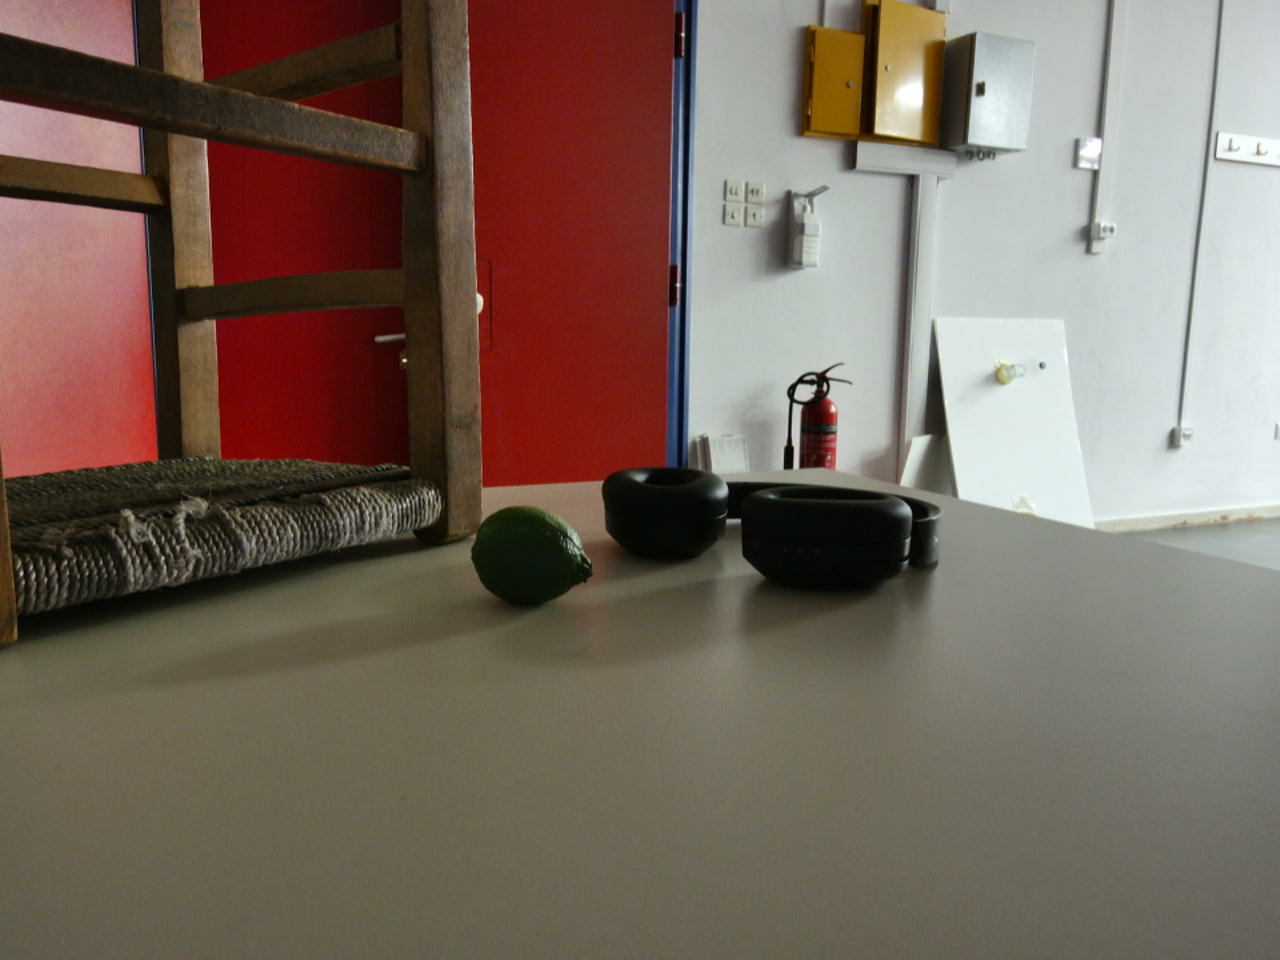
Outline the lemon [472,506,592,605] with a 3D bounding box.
[{"bbox_3d":[-0.059,0.039,0.525,0.057,0.051,0.054,-3,7,-28],"label":"lemon"}]
